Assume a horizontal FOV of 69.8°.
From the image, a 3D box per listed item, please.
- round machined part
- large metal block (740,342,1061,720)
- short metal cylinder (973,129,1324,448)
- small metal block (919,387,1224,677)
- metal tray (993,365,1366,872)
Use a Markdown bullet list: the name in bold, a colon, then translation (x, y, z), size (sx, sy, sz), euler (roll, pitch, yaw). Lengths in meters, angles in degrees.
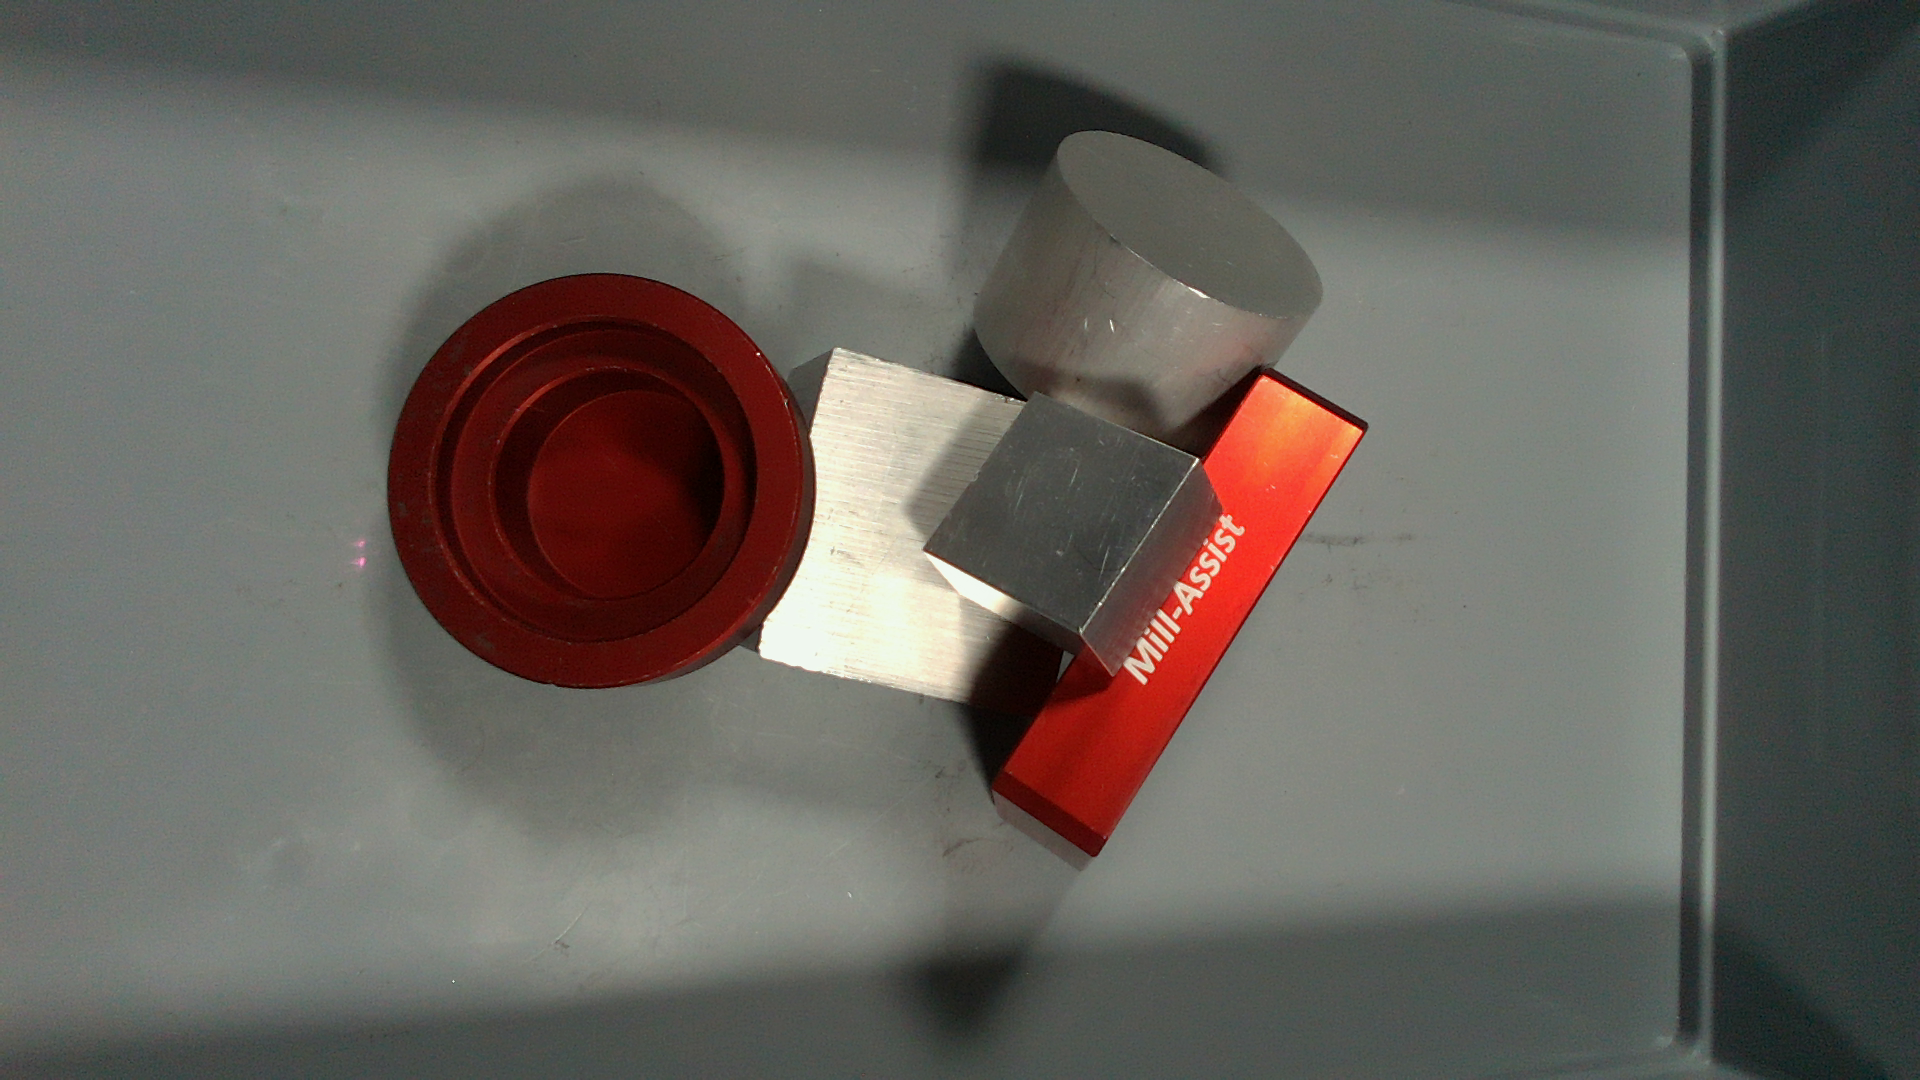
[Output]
- **round machined part**: translation (-0.084, -0.012, 0.340), size (0.098, 0.042, 0.098), euler (0, 85, 3)
- **large metal block**: translation (-0.013, 0.000, 0.374), size (0.080, 0.050, 0.080), euler (15, 85, -19)
- **short metal cylinder**: translation (0.050, -0.067, 0.375), size (0.080, 0.080, 0.050), euler (17, 129, -19)
- **small metal block**: translation (0.027, -0.003, 0.334), size (0.050, 0.050, 0.025), euler (-54, 144, -11)
- **metal tray**: translation (0.058, 0.026, 0.377), size (0.030, 0.090, 0.130), euler (32, 78, 11)
